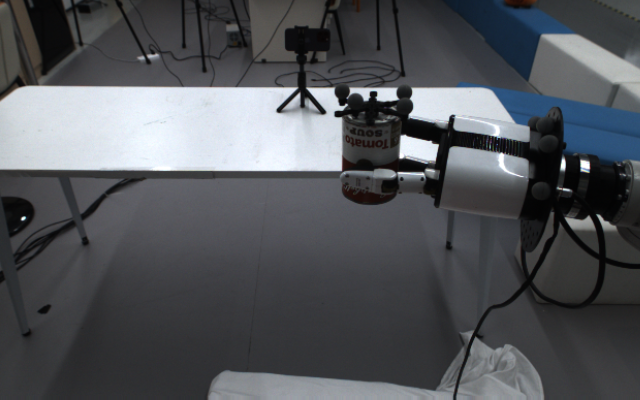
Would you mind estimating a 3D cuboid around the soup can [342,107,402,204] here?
[{"bbox_3d":[0.060,-0.056,0.561,0.067,0.101,0.067,-2,34,1],"label":"soup can"}]
